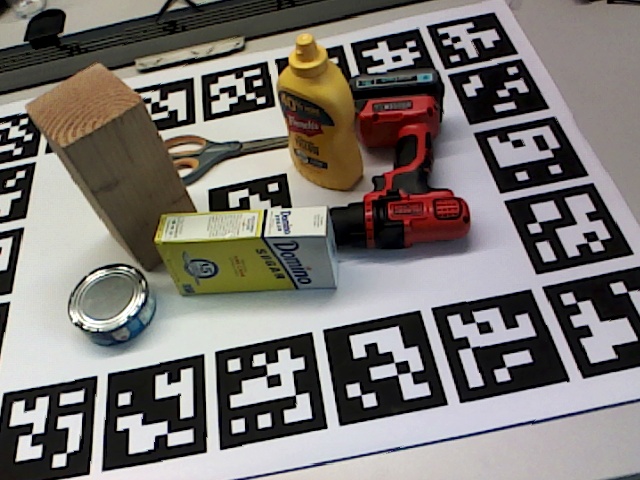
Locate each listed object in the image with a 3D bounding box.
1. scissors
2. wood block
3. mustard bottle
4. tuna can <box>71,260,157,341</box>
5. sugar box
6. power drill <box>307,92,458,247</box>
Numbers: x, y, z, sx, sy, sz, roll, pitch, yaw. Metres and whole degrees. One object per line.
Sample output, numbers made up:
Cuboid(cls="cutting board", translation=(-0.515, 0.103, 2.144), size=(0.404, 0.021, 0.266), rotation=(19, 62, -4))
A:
Cuboid(cls="scissors", translation=(-0.136, -0.118, 0.803), size=(0.203, 0.016, 0.088), rotation=(-11, 50, 3))
Cuboid(cls="wood block", translation=(-0.210, -0.070, 0.678), size=(0.091, 0.205, 0.090), rotation=(-36, 58, -15))
Cuboid(cls="mustard bottle", translation=(-0.001, -0.144, 0.699), size=(0.097, 0.190, 0.058), rotation=(32, 67, 27))
Cuboid(cls="tuna can", translation=(-0.223, 0.066, 0.674), size=(0.086, 0.033, 0.086), rotation=(-4, 55, 6))
Cuboid(cls="sugar box", translation=(-0.066, 0.011, 0.655), size=(0.177, 0.092, 0.045), rotation=(-2, 52, 7))
Cuboid(cls="power drill", translation=(0.061, -0.080, 0.715), size=(0.185, 0.057, 0.187), rotation=(-2, 62, 9))
